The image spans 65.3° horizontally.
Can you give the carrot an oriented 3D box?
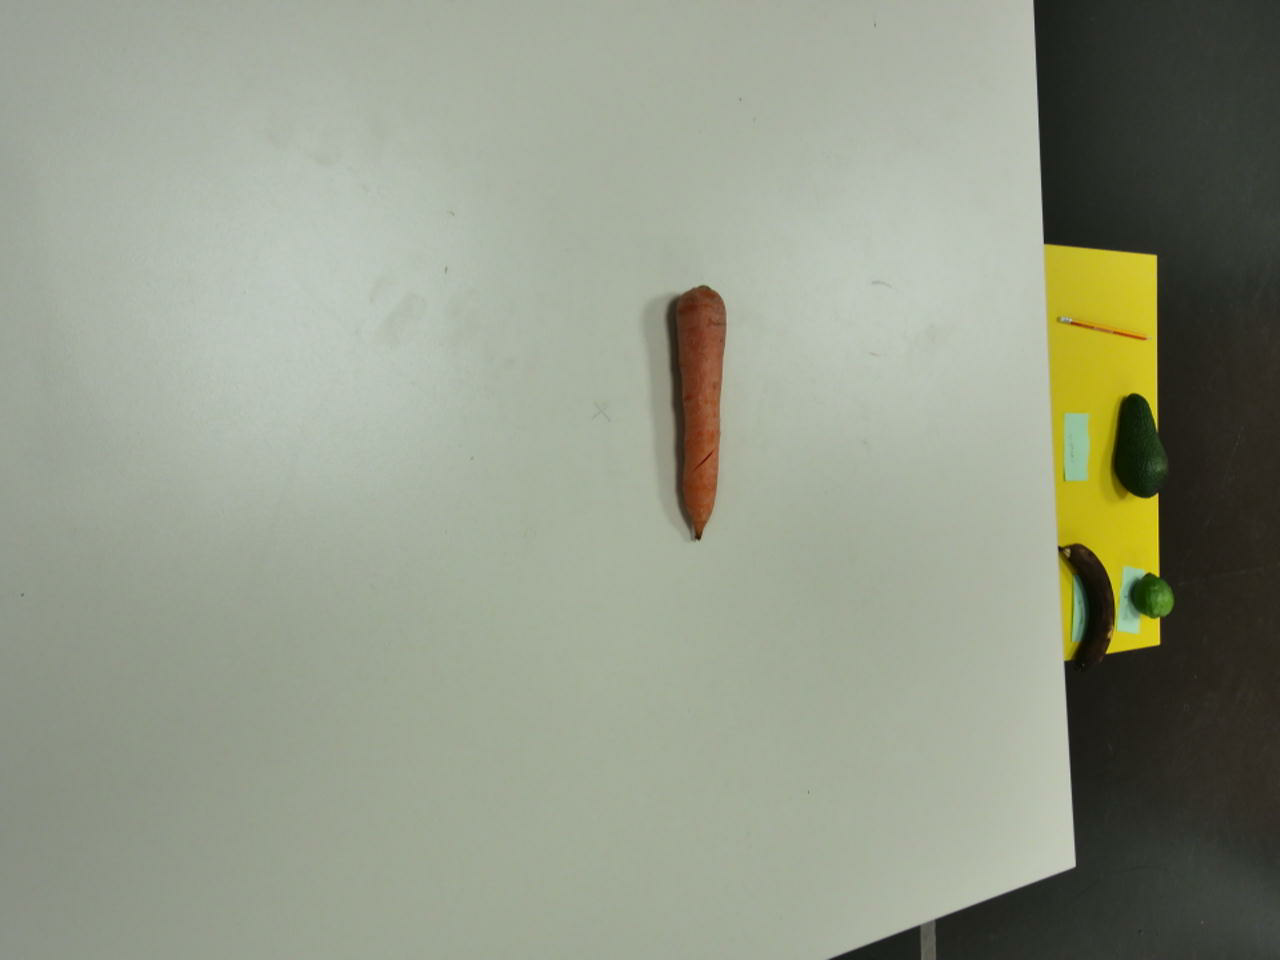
[{"bbox_3d":[0.049,-0.049,0.764,0.039,0.041,0.196,-4,93,-28],"label":"carrot"}]
